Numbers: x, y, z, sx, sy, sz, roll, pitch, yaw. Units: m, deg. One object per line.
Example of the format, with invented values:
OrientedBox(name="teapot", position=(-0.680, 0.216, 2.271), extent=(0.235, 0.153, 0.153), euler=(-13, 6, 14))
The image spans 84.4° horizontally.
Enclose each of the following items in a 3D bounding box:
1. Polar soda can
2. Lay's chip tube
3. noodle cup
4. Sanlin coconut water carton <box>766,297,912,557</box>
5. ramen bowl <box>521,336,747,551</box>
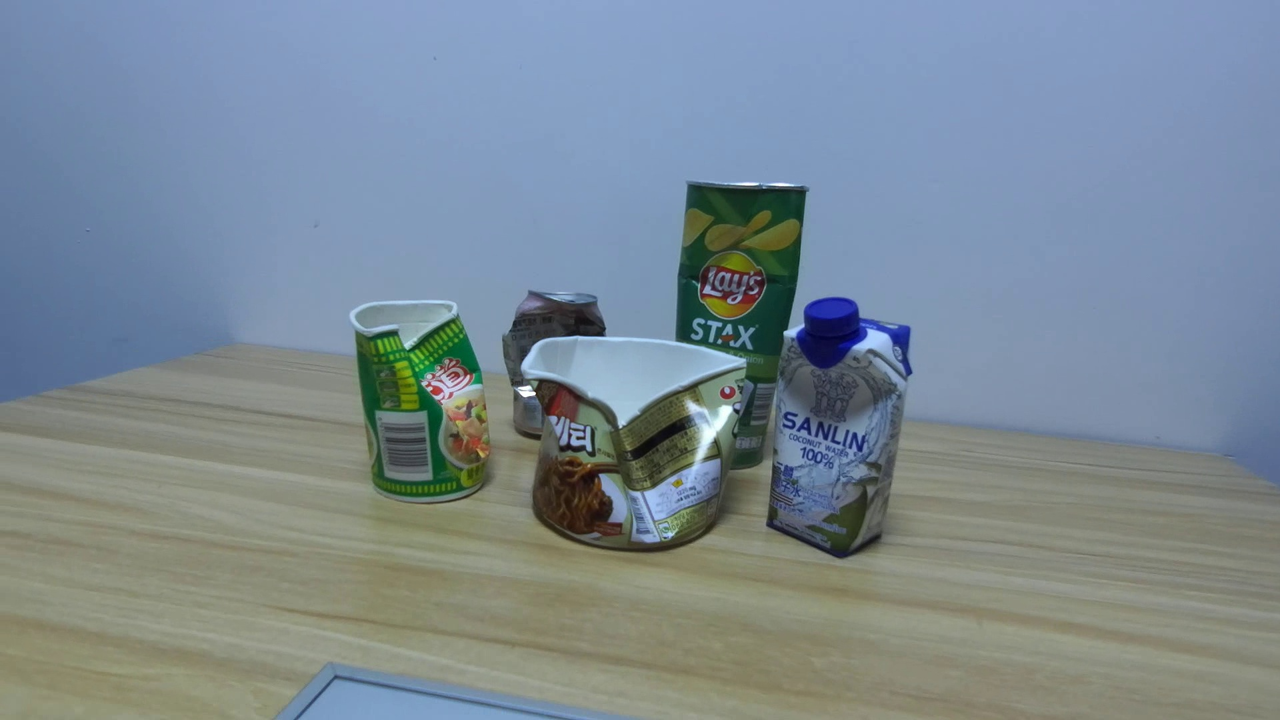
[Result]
OrientedBox(name="Polar soda can", position=(-0.060, 0.004, 0.544), extent=(0.070, 0.114, 0.074), euler=(14, 18, 27))
OrientedBox(name="Lay's chip tube", position=(0.067, -0.025, 0.511), extent=(0.075, 0.199, 0.069), euler=(2, 12, -8))
OrientedBox(name="noodle cup", position=(-0.132, 0.023, 0.439), extent=(0.083, 0.122, 0.075), euler=(-21, 18, -40))
OrientedBox(name="Sanlin coconut water carton", position=(0.111, 0.035, 0.401), extent=(0.058, 0.142, 0.077), euler=(-15, 22, -43))
OrientedBox(name="ramen bowl", position=(-0.005, 0.042, 0.428), extent=(0.137, 0.098, 0.137), euler=(5, 12, -1))
